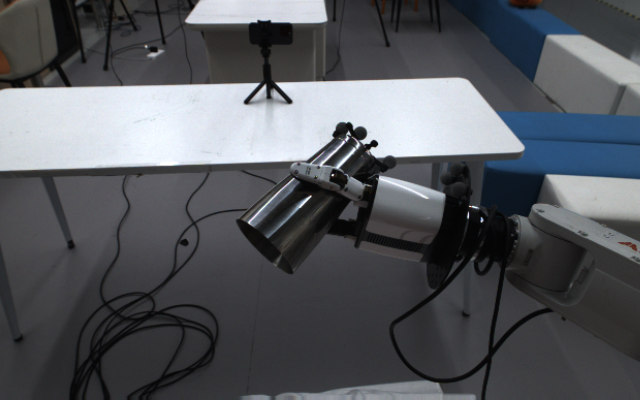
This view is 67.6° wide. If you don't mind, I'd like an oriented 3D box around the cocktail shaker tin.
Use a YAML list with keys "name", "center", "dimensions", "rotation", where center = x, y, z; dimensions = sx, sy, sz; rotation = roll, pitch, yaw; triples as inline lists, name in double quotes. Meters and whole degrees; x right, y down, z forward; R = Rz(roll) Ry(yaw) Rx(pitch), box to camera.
- name: "cocktail shaker tin"
  center: [-0.009, -0.008, 0.593]
  dimensions: [0.093, 0.093, 0.170]
  rotation: [32, 65, 35]
